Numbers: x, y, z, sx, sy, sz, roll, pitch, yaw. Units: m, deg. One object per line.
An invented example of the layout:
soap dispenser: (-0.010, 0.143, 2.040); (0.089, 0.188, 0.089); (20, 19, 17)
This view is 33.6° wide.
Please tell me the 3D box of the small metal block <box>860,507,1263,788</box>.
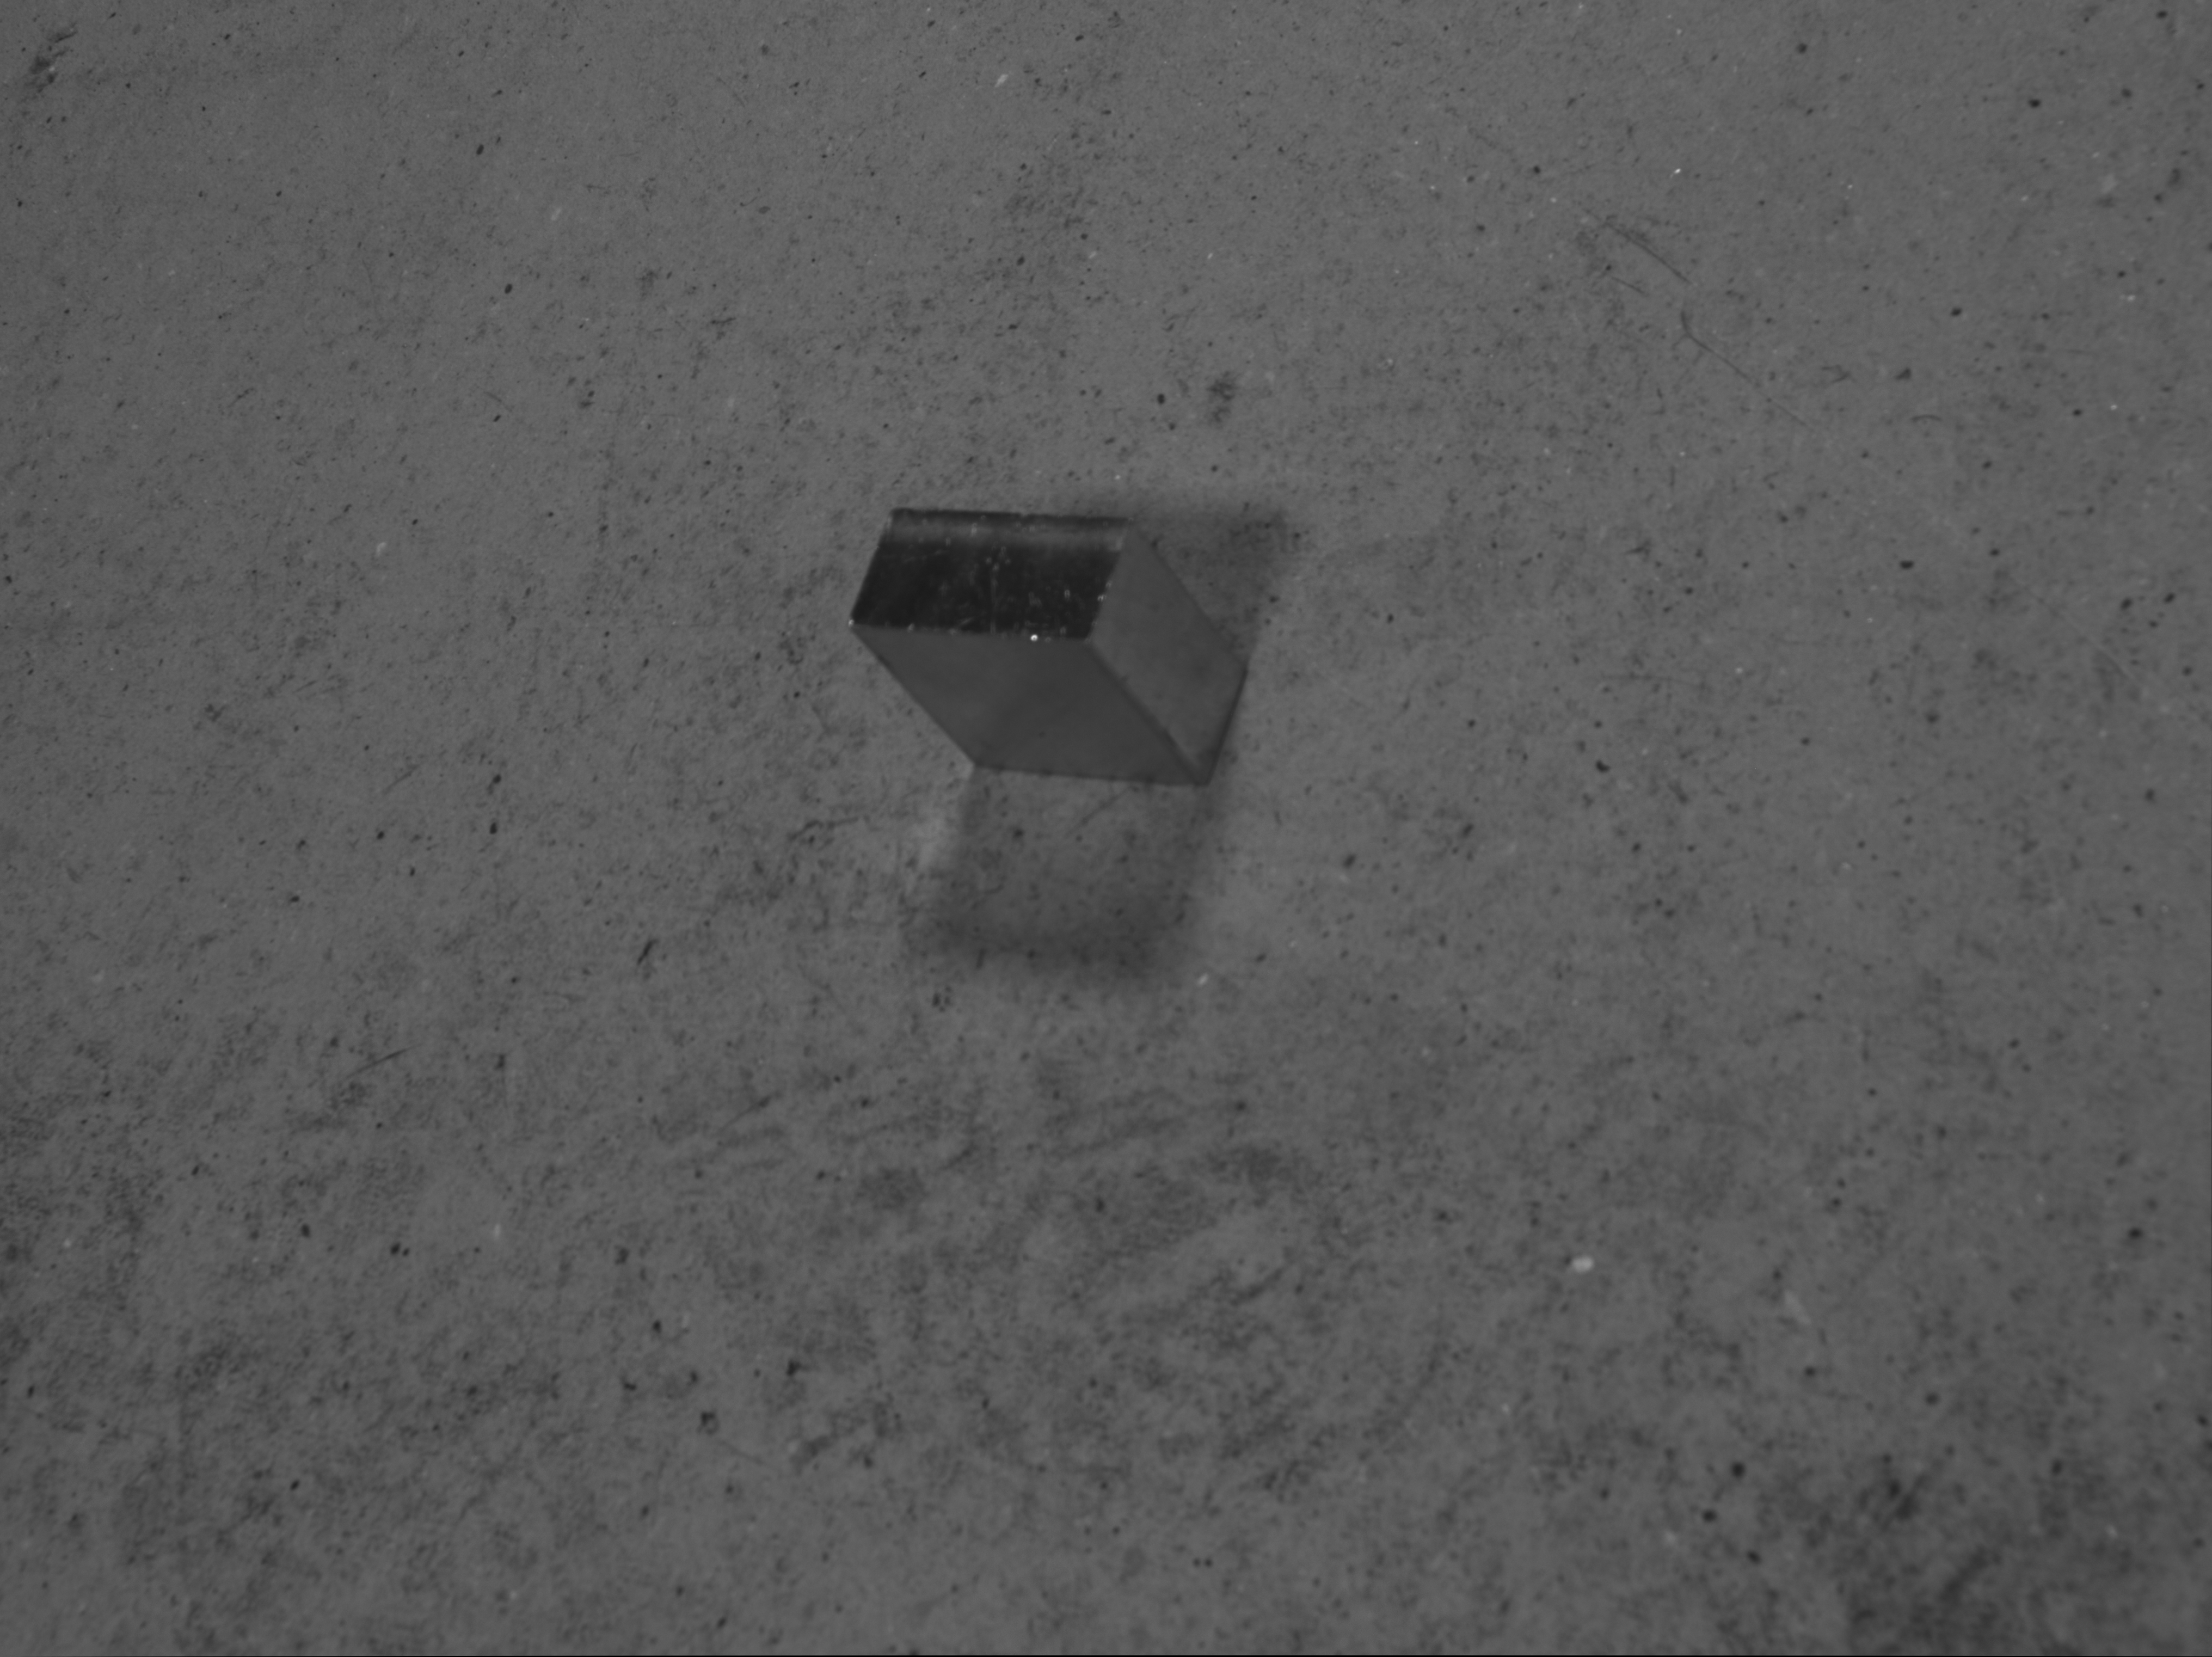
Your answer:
small metal block: (-0.007, -0.032, 0.652); (0.050, 0.050, 0.025); (5, 64, 31)
